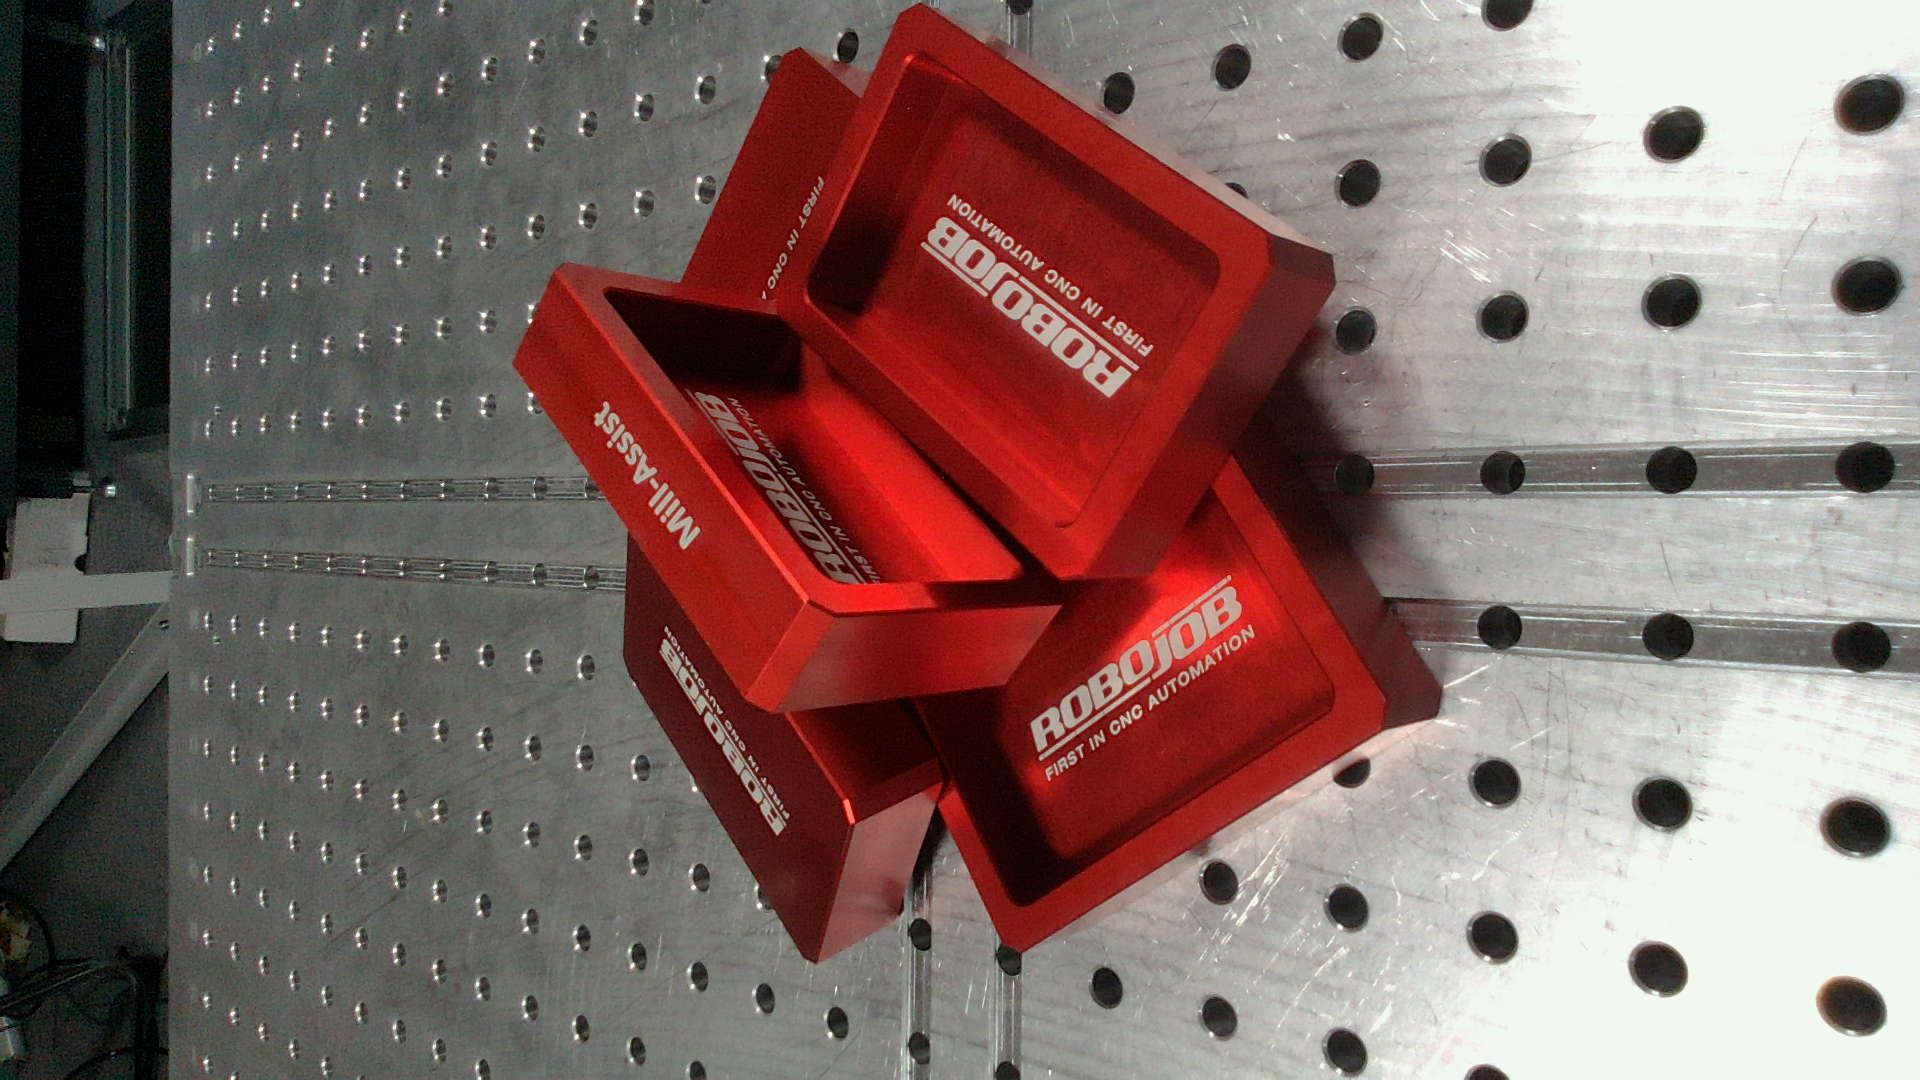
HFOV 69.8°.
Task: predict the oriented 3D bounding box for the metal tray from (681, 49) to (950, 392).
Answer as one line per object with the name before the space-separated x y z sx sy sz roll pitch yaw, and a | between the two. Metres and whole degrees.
metal tray | -0.047 -0.073 0.433 0.090 0.030 0.130 46 118 30

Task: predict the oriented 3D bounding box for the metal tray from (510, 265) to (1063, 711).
metal tray | -0.045 -0.016 0.352 0.130 0.090 0.030 49 119 29

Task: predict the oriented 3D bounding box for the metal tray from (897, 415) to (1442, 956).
metal tray | 0.044 0.038 0.356 0.130 0.030 0.090 -41 65 32

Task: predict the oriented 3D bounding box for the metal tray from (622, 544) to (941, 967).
metal tray | -0.061 0.053 0.421 0.130 0.030 0.090 50 145 28

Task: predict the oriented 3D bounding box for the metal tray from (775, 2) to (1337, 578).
metal tray | 0.016 -0.063 0.341 0.130 0.030 0.090 44 116 31
